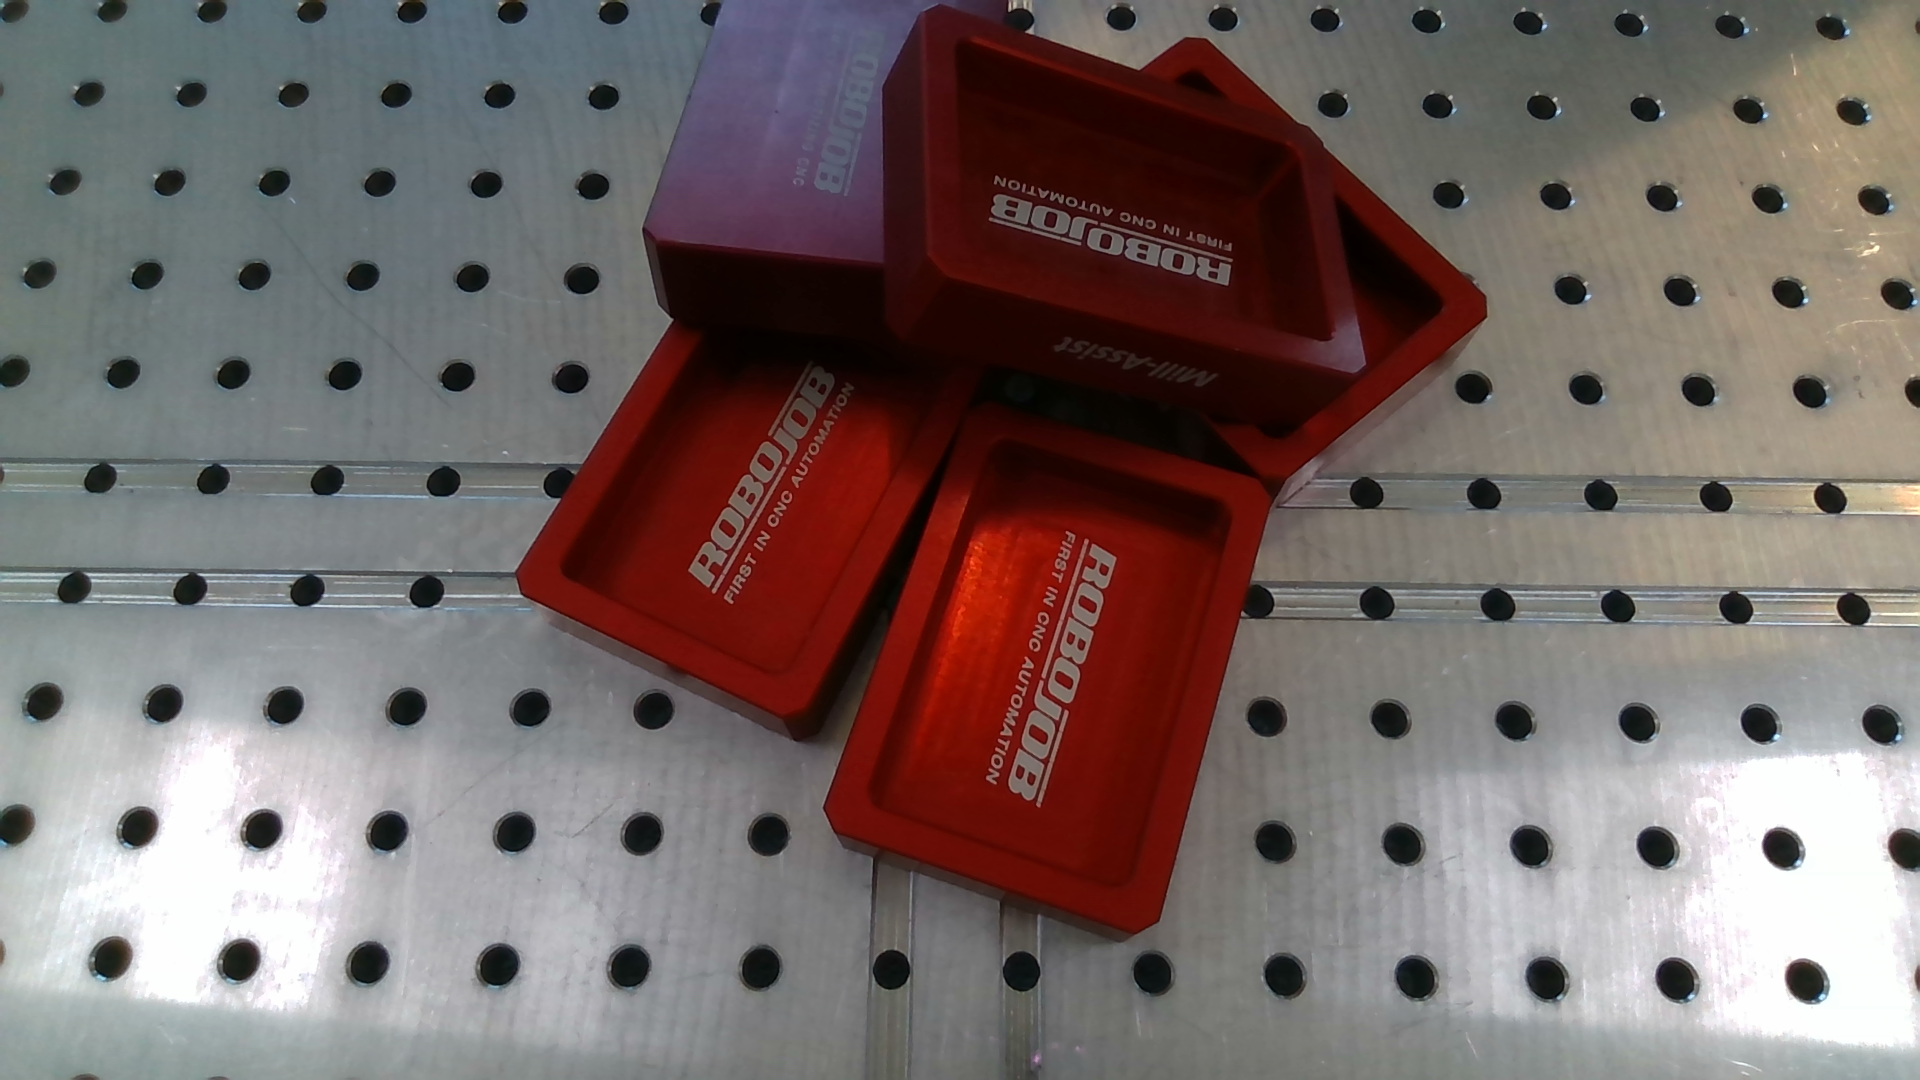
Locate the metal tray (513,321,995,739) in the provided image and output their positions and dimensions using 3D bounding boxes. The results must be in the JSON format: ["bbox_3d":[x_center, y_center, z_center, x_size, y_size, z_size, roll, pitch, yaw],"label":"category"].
[{"bbox_3d":[-0.056,-0.019,0.401,0.090,0.030,0.130,24,72,9],"label":"metal tray"}]

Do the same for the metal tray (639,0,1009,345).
[{"bbox_3d":[-0.036,-0.120,0.420,0.090,0.030,0.130,6,56,3],"label":"metal tray"}]

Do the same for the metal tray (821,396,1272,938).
[{"bbox_3d":[0.026,0.033,0.382,0.090,0.030,0.130,17,71,7],"label":"metal tray"}]

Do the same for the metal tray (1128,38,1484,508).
[{"bbox_3d":[0.081,-0.083,0.424,0.090,0.030,0.130,-38,75,-13],"label":"metal tray"}]

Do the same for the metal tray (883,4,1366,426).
[{"bbox_3d":[0.045,-0.088,0.381,0.130,0.030,0.090,10,61,-22],"label":"metal tray"}]
